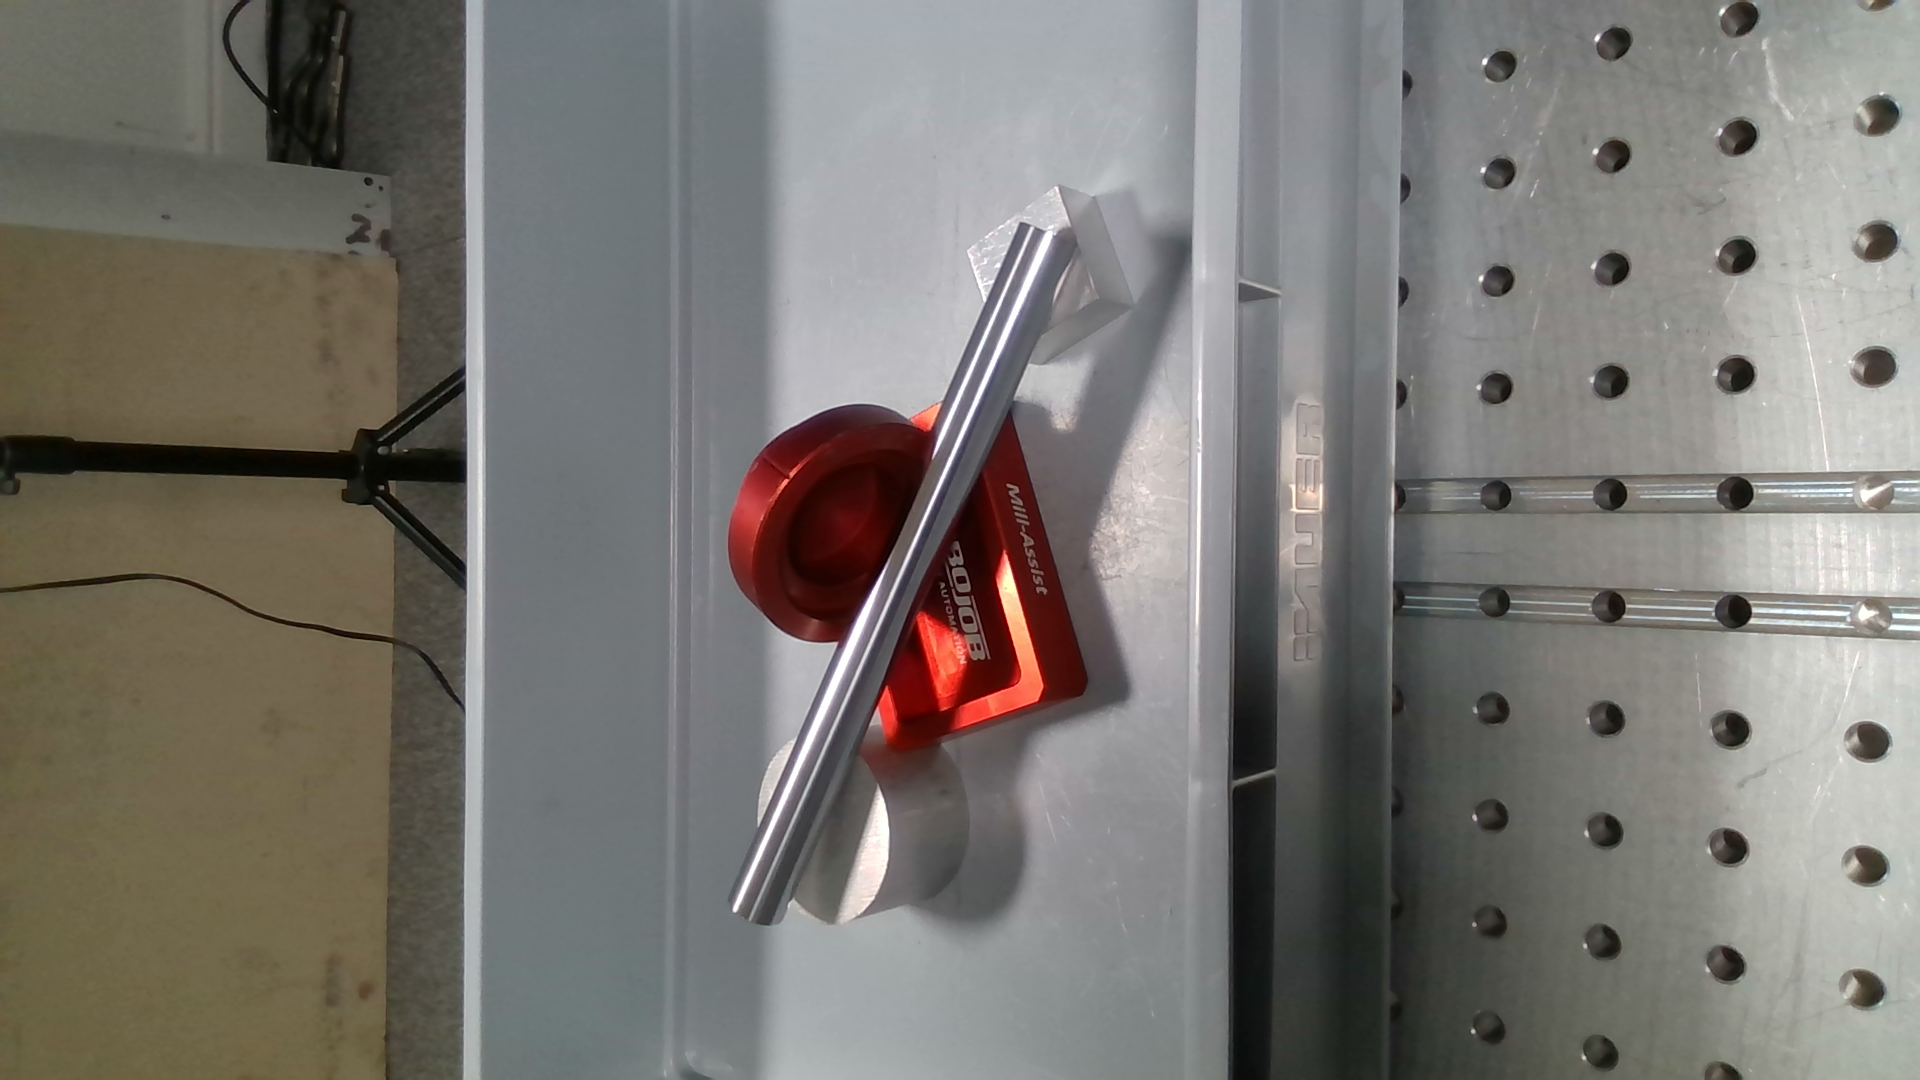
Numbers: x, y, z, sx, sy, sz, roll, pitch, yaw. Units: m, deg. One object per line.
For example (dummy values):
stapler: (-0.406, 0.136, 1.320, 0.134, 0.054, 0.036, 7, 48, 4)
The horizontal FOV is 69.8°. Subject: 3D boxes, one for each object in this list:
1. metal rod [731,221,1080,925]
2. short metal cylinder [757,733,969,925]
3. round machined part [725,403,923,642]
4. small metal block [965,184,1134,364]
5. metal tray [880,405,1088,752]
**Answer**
metal rod: (-0.025, 0.020, 0.549, 0.025, 0.025, 0.300, 32, 104, 36)
short metal cylinder: (-0.043, 0.122, 0.602, 0.080, 0.050, 0.080, 0, 91, 40)
round machined part: (-0.052, -0.011, 0.560, 0.042, 0.098, 0.098, 38, 114, 42)
small metal block: (0.035, -0.105, 0.549, 0.050, 0.025, 0.050, -28, 73, 37)
metal tray: (-0.005, 0.015, 0.581, 0.090, 0.030, 0.130, -25, 75, 38)
